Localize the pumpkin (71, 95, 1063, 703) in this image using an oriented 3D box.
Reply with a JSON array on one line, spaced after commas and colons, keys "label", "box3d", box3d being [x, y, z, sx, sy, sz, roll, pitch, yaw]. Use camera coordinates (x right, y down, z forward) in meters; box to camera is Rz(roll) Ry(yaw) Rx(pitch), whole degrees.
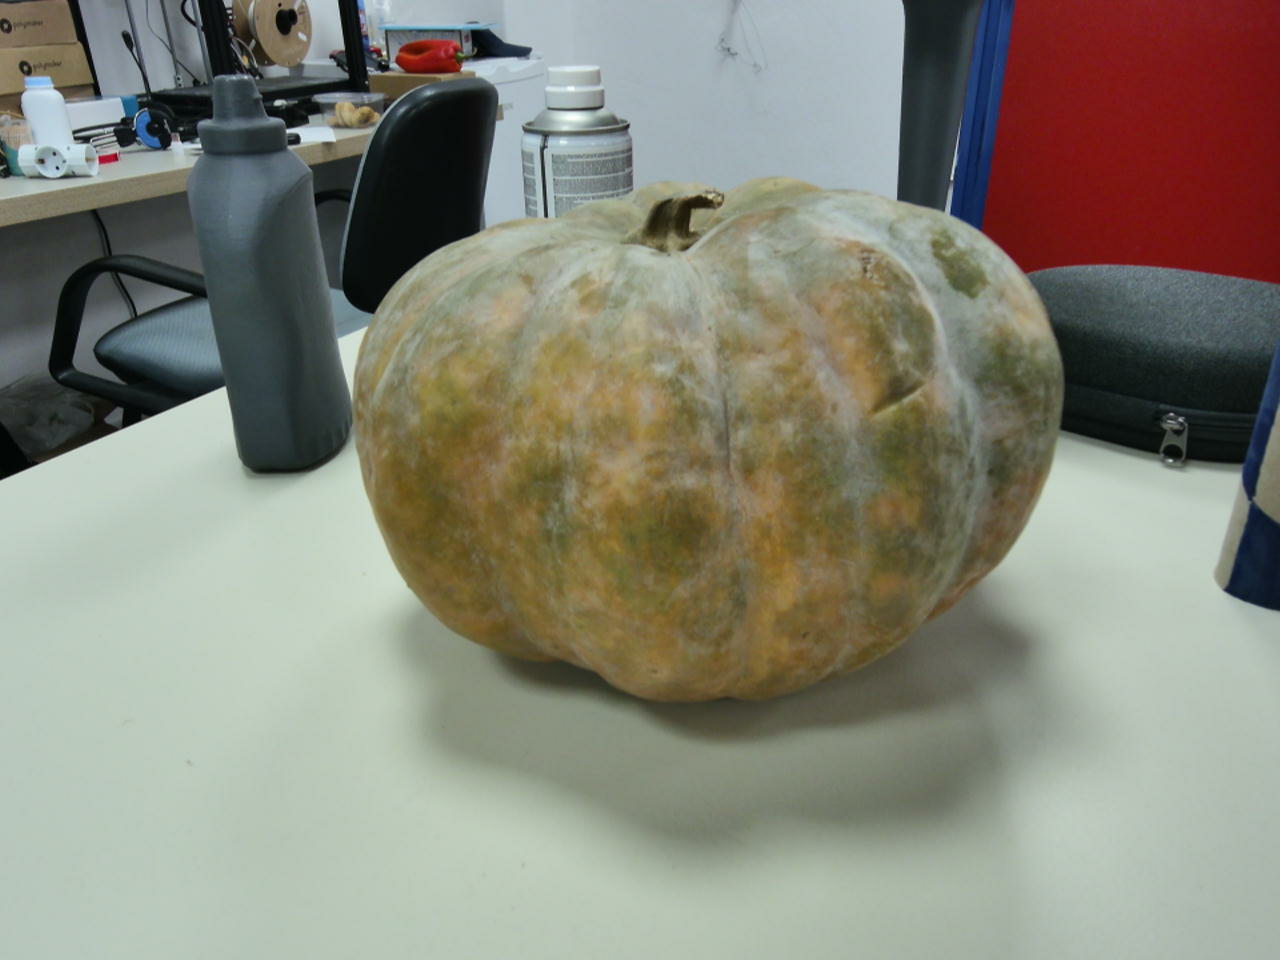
[{"label": "pumpkin", "box3d": [0.016, -0.025, 0.375, 0.252, 0.169, 0.251, 0, 24, 0]}]
